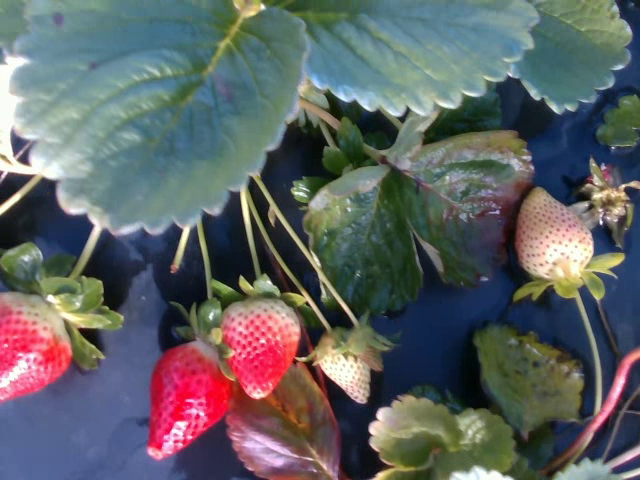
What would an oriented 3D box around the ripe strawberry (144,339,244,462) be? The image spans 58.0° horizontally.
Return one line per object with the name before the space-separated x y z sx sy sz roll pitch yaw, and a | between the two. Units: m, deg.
ripe strawberry | -0.065 0.074 0.258 0.044 0.055 0.042 -2 -43 38
